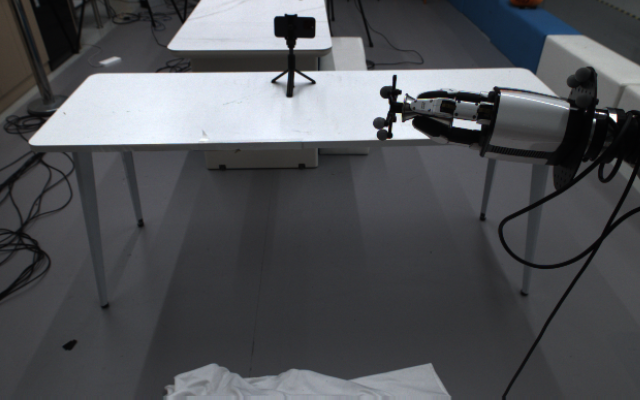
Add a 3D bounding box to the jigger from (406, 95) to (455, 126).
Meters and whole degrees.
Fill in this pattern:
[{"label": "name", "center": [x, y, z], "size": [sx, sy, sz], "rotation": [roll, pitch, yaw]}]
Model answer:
[{"label": "jigger", "center": [0.156, -0.128, 0.667], "size": [0.071, 0.043, 0.043], "rotation": [8, 35, 16]}]
